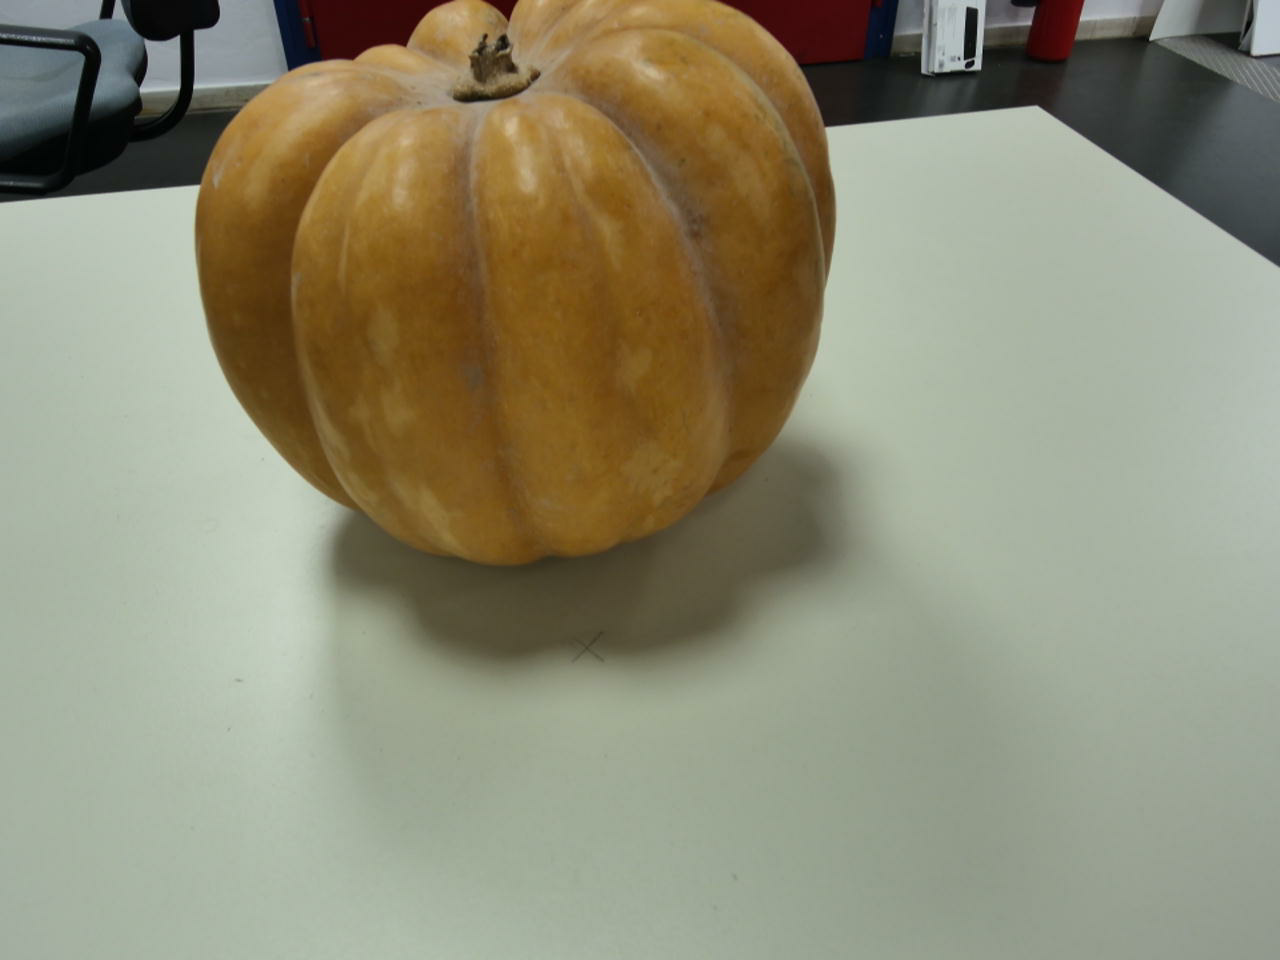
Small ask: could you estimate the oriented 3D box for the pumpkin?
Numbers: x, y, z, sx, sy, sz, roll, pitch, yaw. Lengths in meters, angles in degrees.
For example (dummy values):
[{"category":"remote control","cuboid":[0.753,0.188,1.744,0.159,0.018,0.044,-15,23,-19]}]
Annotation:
[{"category":"pumpkin","cuboid":[-0.039,-0.076,0.377,0.230,0.194,0.230,0,39,0]}]
